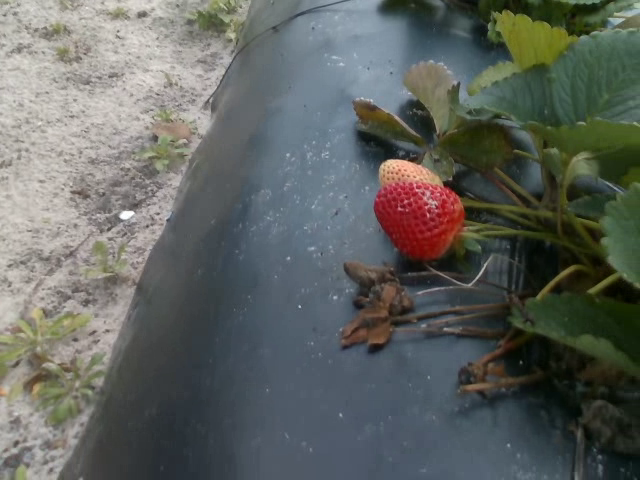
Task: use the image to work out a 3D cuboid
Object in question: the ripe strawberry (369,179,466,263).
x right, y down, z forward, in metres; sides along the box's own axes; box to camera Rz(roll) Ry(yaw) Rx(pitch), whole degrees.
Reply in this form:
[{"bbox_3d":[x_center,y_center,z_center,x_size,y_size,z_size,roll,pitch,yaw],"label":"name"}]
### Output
[{"bbox_3d":[0.040,-0.012,0.254,0.041,0.034,0.033,39,-29,-4],"label":"ripe strawberry"}]
